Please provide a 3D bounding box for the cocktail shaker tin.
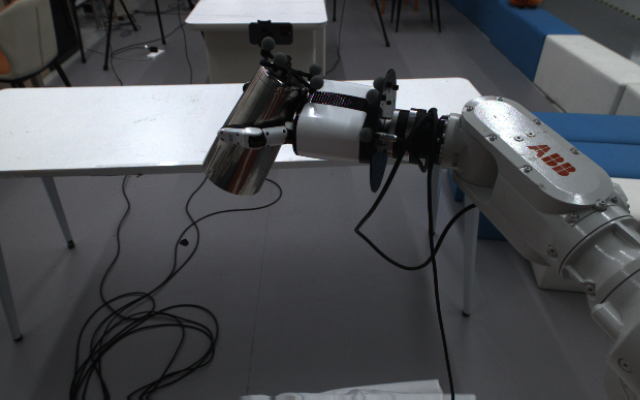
[{"bbox_3d":[-0.086,-0.104,0.662,0.093,0.170,0.093,26,32,-18],"label":"cocktail shaker tin"}]
